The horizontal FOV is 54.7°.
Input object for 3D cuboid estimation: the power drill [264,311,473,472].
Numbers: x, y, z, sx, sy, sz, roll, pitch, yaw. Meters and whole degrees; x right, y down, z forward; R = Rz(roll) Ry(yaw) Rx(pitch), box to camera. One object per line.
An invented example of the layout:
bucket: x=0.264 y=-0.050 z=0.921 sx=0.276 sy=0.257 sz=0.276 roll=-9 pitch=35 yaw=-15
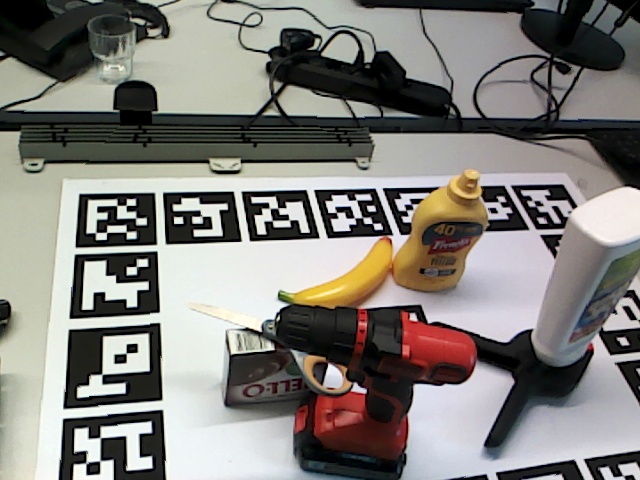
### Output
power drill: x=0.034 y=0.143 z=0.588 sx=0.184 sy=0.186 sz=0.057 roll=6 pitch=39 yaw=-3

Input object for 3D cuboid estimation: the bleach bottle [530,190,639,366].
bleach bottle: x=0.302 y=0.064 z=0.702 sx=0.102 sy=0.250 sz=0.068 roll=-21 pitch=51 yaw=-21

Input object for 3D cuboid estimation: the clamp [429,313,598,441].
clamp: x=0.254 y=0.148 z=0.757 sx=0.202 sy=0.036 sz=0.166 roll=-6 pitch=51 yaw=-20

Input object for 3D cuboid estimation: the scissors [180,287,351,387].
scissors: x=-0.051 y=0.087 z=0.640 sx=0.203 sy=0.016 sz=0.088 roll=20 pitch=50 yaw=0

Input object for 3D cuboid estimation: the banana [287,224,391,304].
banana: x=0.045 y=0.034 z=0.830 sx=0.075 sy=0.039 sz=0.196 roll=23 pitch=44 yaw=32

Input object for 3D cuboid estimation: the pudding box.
pudding box: x=-0.052 y=0.136 z=0.683 sx=0.113 sy=0.090 sz=0.039 roll=2 pitch=40 yaw=-12

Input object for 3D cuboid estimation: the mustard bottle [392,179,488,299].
mustard bottle: x=0.163 y=-0.003 z=0.801 sx=0.096 sy=0.191 sz=0.058 roll=9 pitch=45 yaw=-6
